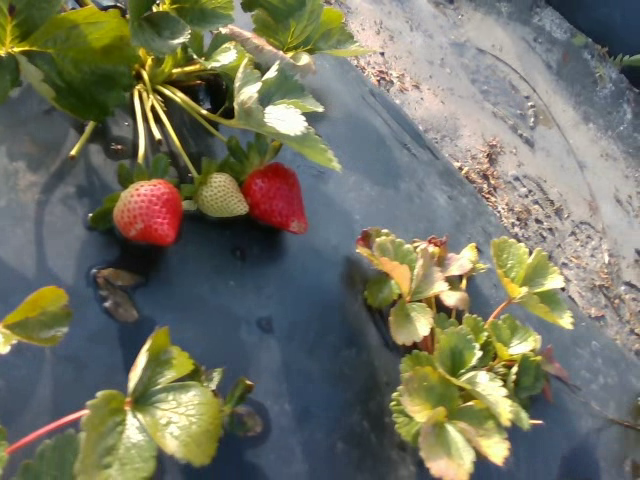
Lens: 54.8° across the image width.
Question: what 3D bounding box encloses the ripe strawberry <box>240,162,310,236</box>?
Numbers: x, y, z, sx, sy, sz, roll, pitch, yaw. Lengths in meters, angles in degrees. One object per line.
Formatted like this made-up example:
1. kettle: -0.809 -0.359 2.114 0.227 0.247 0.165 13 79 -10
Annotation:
1. ripe strawberry: -0.028 -0.026 0.429 0.048 0.065 0.050 -30 -4 -1
